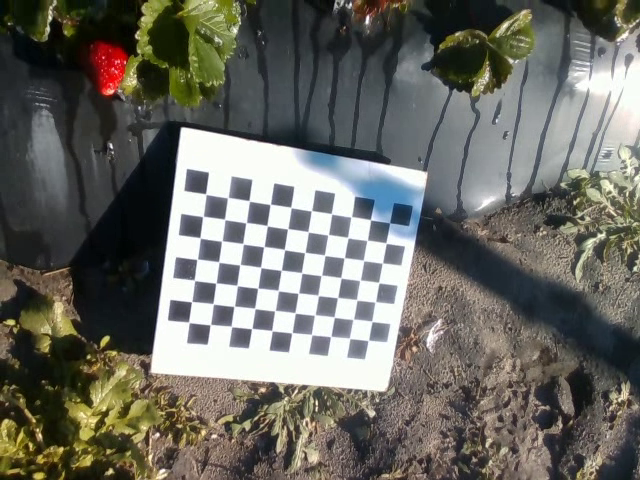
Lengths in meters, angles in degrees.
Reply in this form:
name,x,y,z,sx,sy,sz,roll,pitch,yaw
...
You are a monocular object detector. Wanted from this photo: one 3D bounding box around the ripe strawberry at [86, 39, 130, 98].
name,x,y,z,sx,sy,sz,roll,pitch,yaw
ripe strawberry,-0.170,-0.135,0.458,0.041,0.053,0.047,1,-29,-13
